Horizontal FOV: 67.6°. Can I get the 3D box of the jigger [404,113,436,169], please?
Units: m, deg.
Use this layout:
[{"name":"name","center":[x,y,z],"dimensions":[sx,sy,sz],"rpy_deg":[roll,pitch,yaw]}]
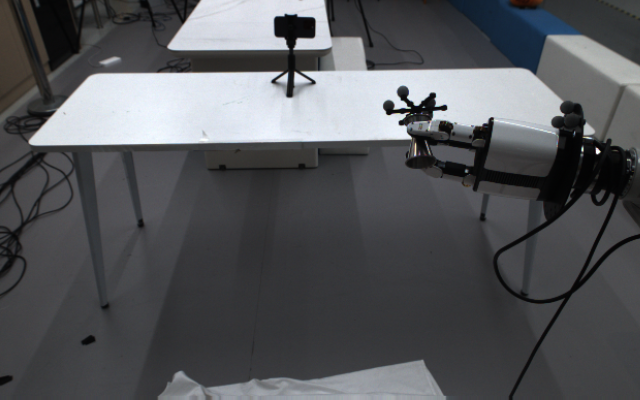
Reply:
[{"name":"jigger","center":[0.141,-0.087,0.690],"dimensions":[0.043,0.043,0.071],"rpy_deg":[1,70,-2]}]
